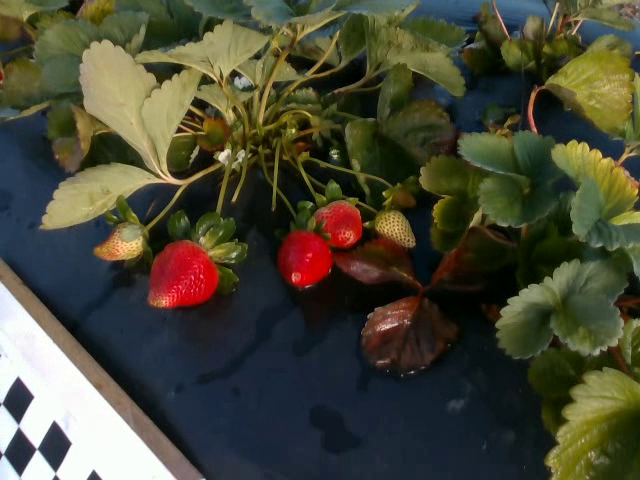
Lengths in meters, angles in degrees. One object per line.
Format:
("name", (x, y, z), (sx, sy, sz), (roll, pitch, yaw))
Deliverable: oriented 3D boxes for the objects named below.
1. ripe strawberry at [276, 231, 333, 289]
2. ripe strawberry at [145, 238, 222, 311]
("ripe strawberry", (-0.014, 0.018, 0.407), (0.044, 0.042, 0.055), (-36, 13, 20))
("ripe strawberry", (-0.099, 0.026, 0.407), (0.050, 0.050, 0.065), (-12, 18, 29))
